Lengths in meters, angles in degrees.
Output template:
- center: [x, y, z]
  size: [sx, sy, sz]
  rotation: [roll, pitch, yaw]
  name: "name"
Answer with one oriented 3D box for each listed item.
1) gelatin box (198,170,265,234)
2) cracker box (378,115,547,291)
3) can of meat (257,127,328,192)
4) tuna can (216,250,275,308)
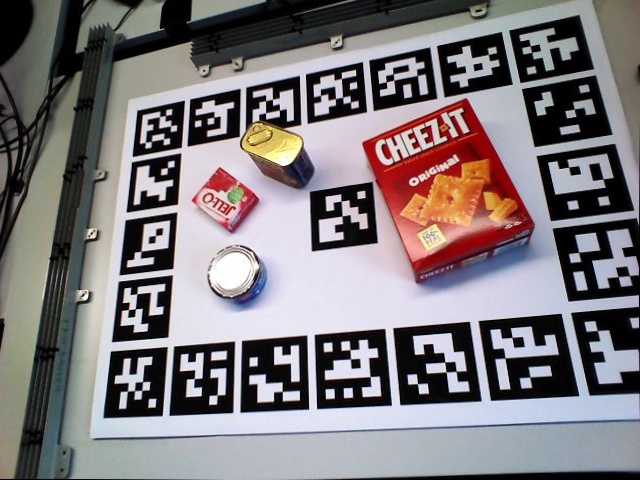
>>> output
- center: [-0.147, -0.065, 0.862]
  size: [0.089, 0.030, 0.073]
  rotation: [36, 79, 23]
  name: "gelatin box"
- center: [0.194, -0.056, 0.741]
  size: [0.165, 0.072, 0.213]
  rotation: [-21, 63, 5]
  name: "cracker box"
- center: [-0.044, -0.127, 0.835]
  size: [0.102, 0.084, 0.057]
  rotation: [23, 76, 24]
  name: "can of meat"
- center: [-0.113, 0.061, 0.796]
  size: [0.086, 0.034, 0.085]
  rotation: [-5, 71, 15]
  name: "tuna can"
